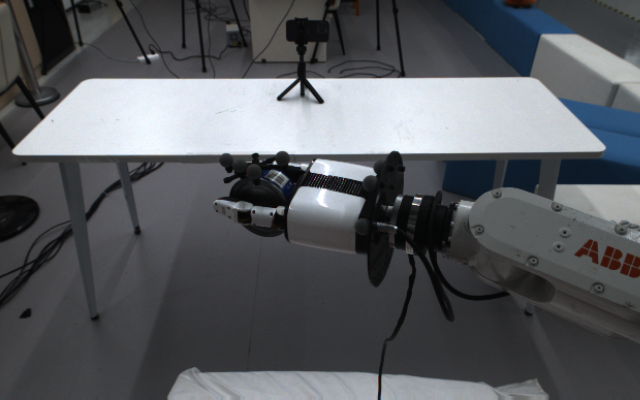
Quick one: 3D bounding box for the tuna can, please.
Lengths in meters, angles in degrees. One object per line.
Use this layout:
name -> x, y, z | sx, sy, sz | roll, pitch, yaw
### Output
tuna can -> -0.066, 0.002, 0.609 | 0.085, 0.085, 0.034 | 14, 34, 17
